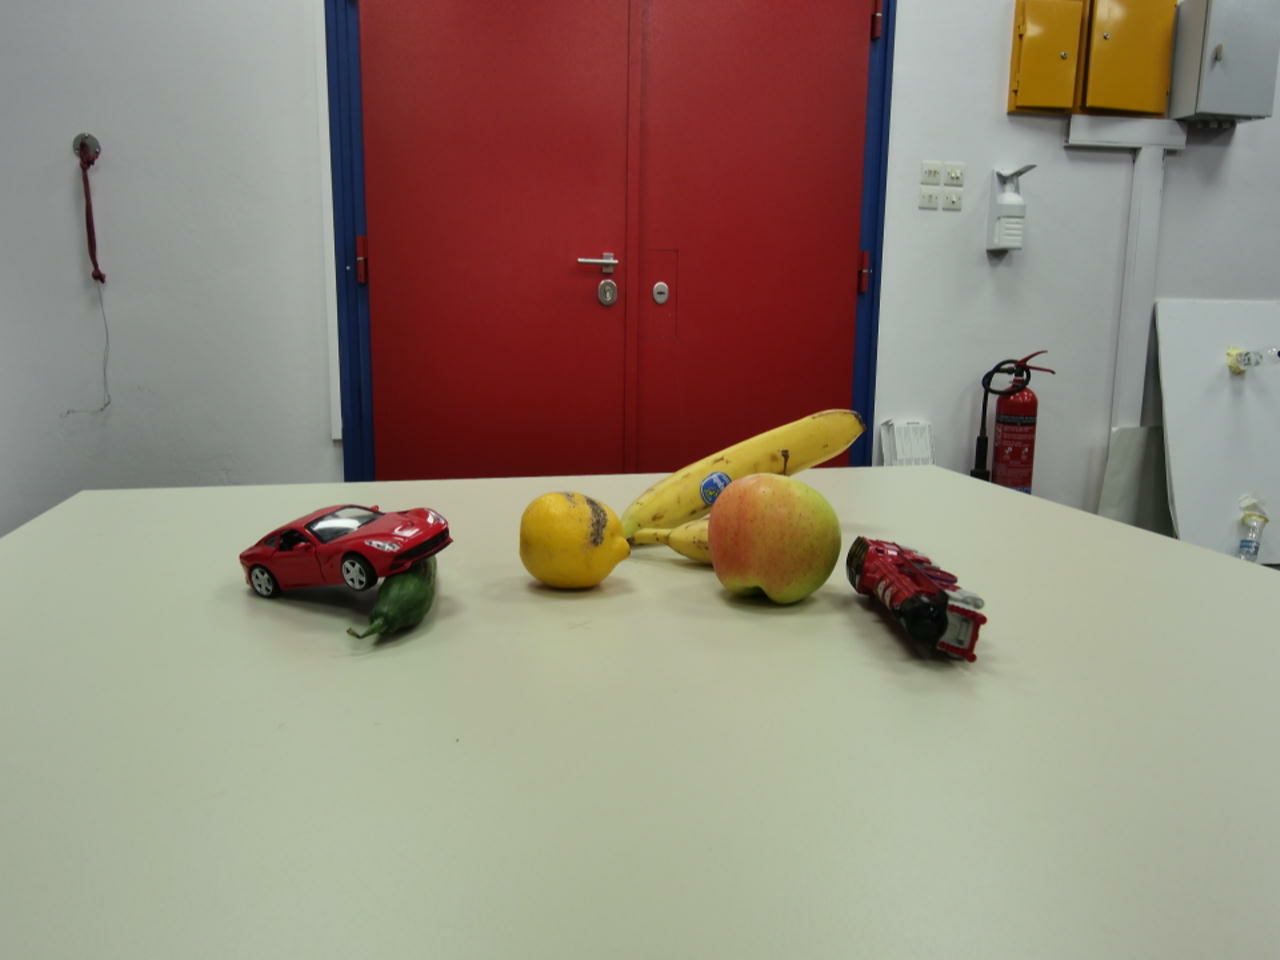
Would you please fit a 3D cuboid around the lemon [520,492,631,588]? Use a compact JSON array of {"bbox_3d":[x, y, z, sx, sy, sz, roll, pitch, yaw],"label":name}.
[{"bbox_3d":[-0.041,0.035,0.586,0.061,0.056,0.058,-3,8,-20],"label":"lemon"}]
